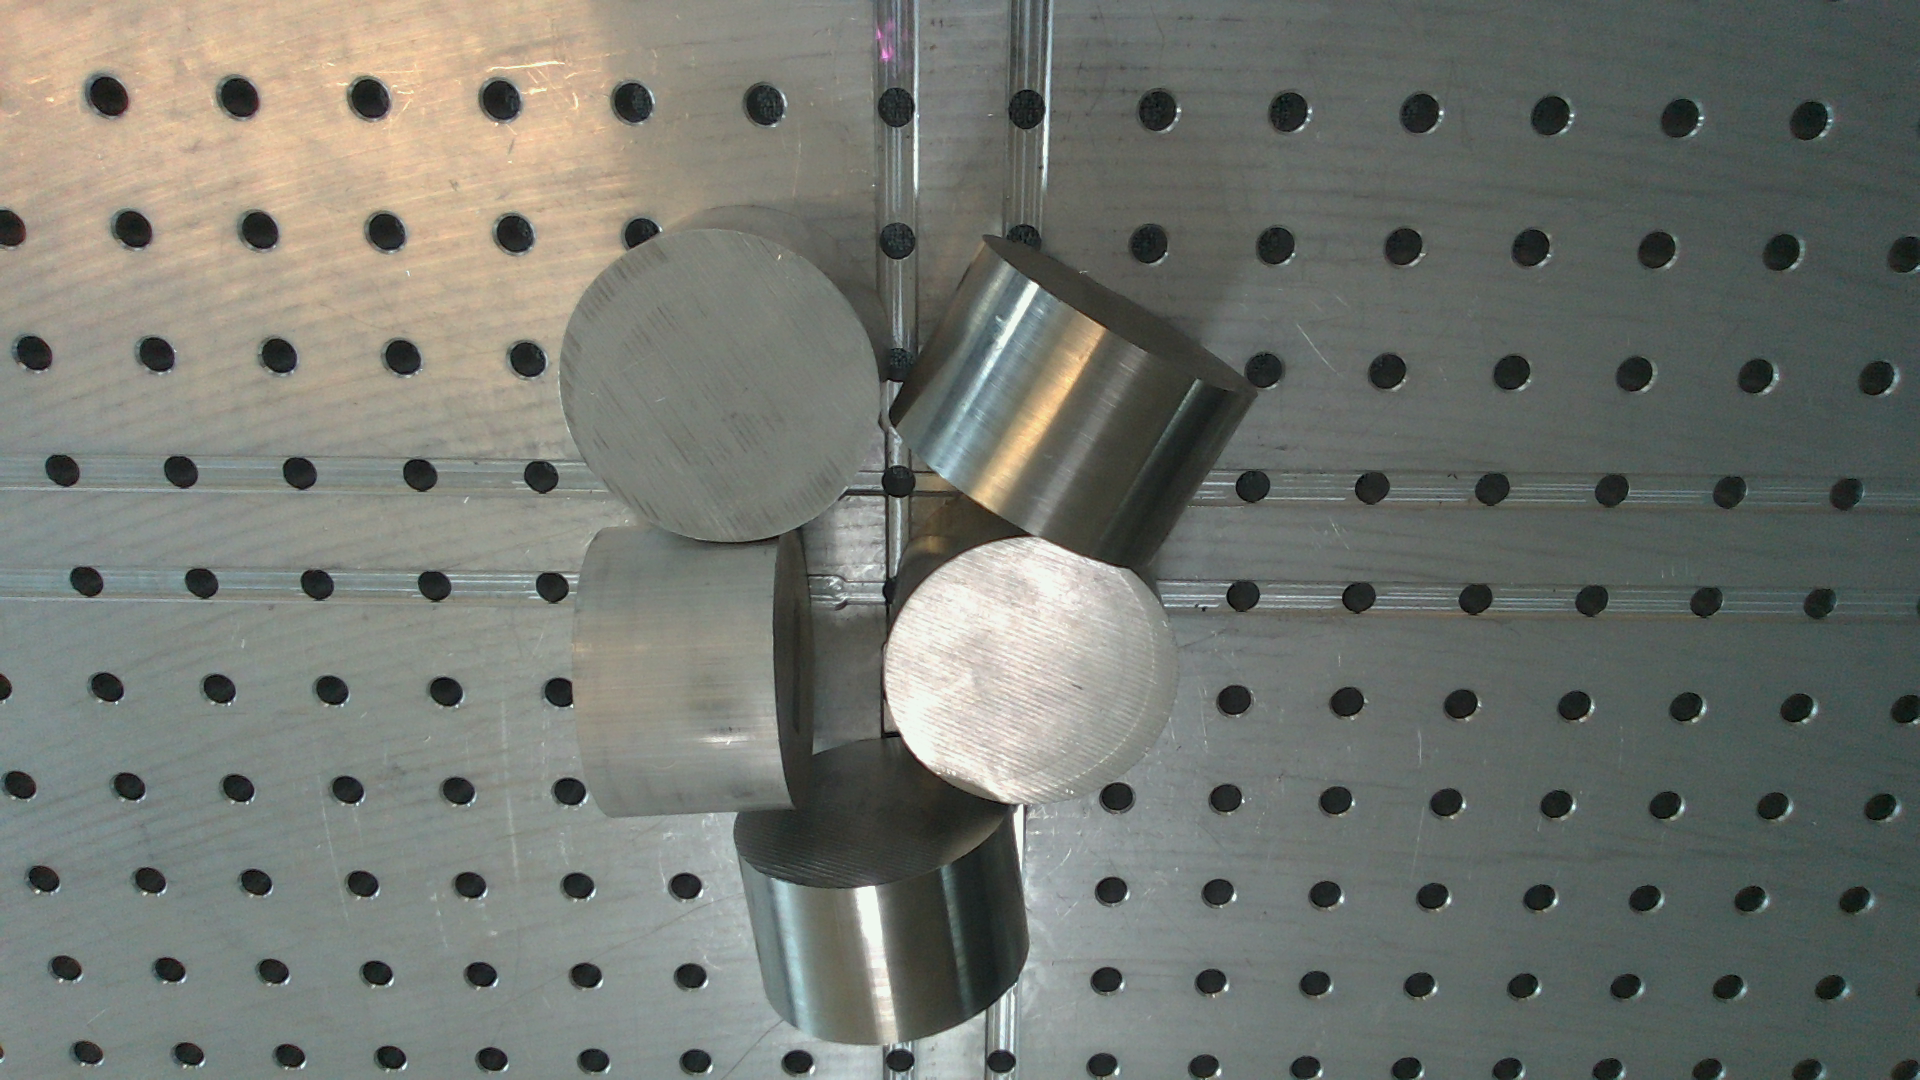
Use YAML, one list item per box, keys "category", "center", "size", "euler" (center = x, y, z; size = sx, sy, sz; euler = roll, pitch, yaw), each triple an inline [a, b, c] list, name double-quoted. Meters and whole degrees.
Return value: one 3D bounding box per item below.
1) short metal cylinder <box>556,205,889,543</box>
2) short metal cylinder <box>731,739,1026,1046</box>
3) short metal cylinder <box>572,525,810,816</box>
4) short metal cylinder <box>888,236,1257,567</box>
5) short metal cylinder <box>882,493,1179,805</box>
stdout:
- category: "short metal cylinder"
  center: [-0.060, -0.046, 0.366]
  size: [0.080, 0.050, 0.080]
  euler: [0, 110, 1]
- category: "short metal cylinder"
  center: [-0.023, 0.100, 0.403]
  size: [0.080, 0.080, 0.050]
  euler: [-6, 110, 2]
- category: "short metal cylinder"
  center: [-0.071, 0.035, 0.381]
  size: [0.050, 0.080, 0.080]
  euler: [-2, 110, 0]
- category: "short metal cylinder"
  center: [0.028, -0.036, 0.354]
  size: [0.080, 0.080, 0.050]
  euler: [27, 107, -10]
- category: "short metal cylinder"
  center: [0.019, 0.028, 0.394]
  size: [0.080, 0.050, 0.080]
  euler: [0, 111, -1]
